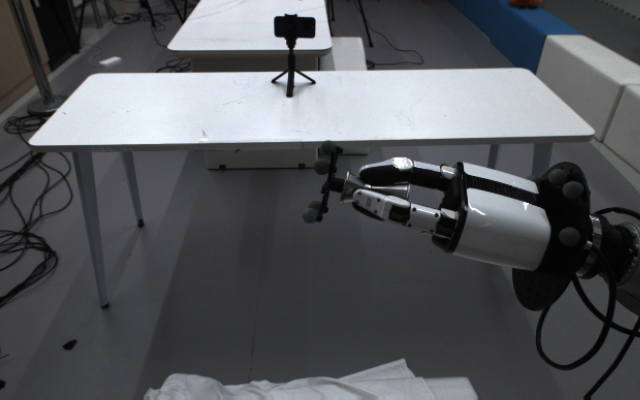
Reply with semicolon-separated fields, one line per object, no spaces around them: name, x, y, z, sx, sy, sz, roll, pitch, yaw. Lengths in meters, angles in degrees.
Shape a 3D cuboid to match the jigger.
jigger;0.063;-0.010;0.523;0.071;0.043;0.043;14;36;4
